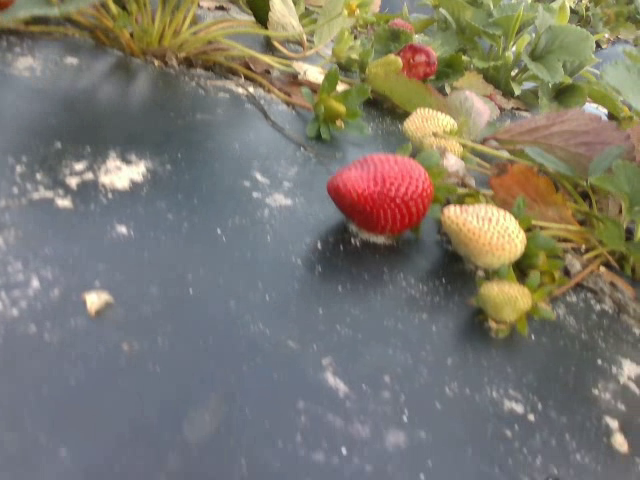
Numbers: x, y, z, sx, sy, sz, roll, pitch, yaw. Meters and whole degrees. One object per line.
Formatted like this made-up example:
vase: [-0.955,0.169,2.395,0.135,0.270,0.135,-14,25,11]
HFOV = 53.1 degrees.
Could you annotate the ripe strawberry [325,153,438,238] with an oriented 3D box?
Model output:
ripe strawberry: [0.022,-0.022,0.262,0.050,0.034,0.059,32,18,24]
